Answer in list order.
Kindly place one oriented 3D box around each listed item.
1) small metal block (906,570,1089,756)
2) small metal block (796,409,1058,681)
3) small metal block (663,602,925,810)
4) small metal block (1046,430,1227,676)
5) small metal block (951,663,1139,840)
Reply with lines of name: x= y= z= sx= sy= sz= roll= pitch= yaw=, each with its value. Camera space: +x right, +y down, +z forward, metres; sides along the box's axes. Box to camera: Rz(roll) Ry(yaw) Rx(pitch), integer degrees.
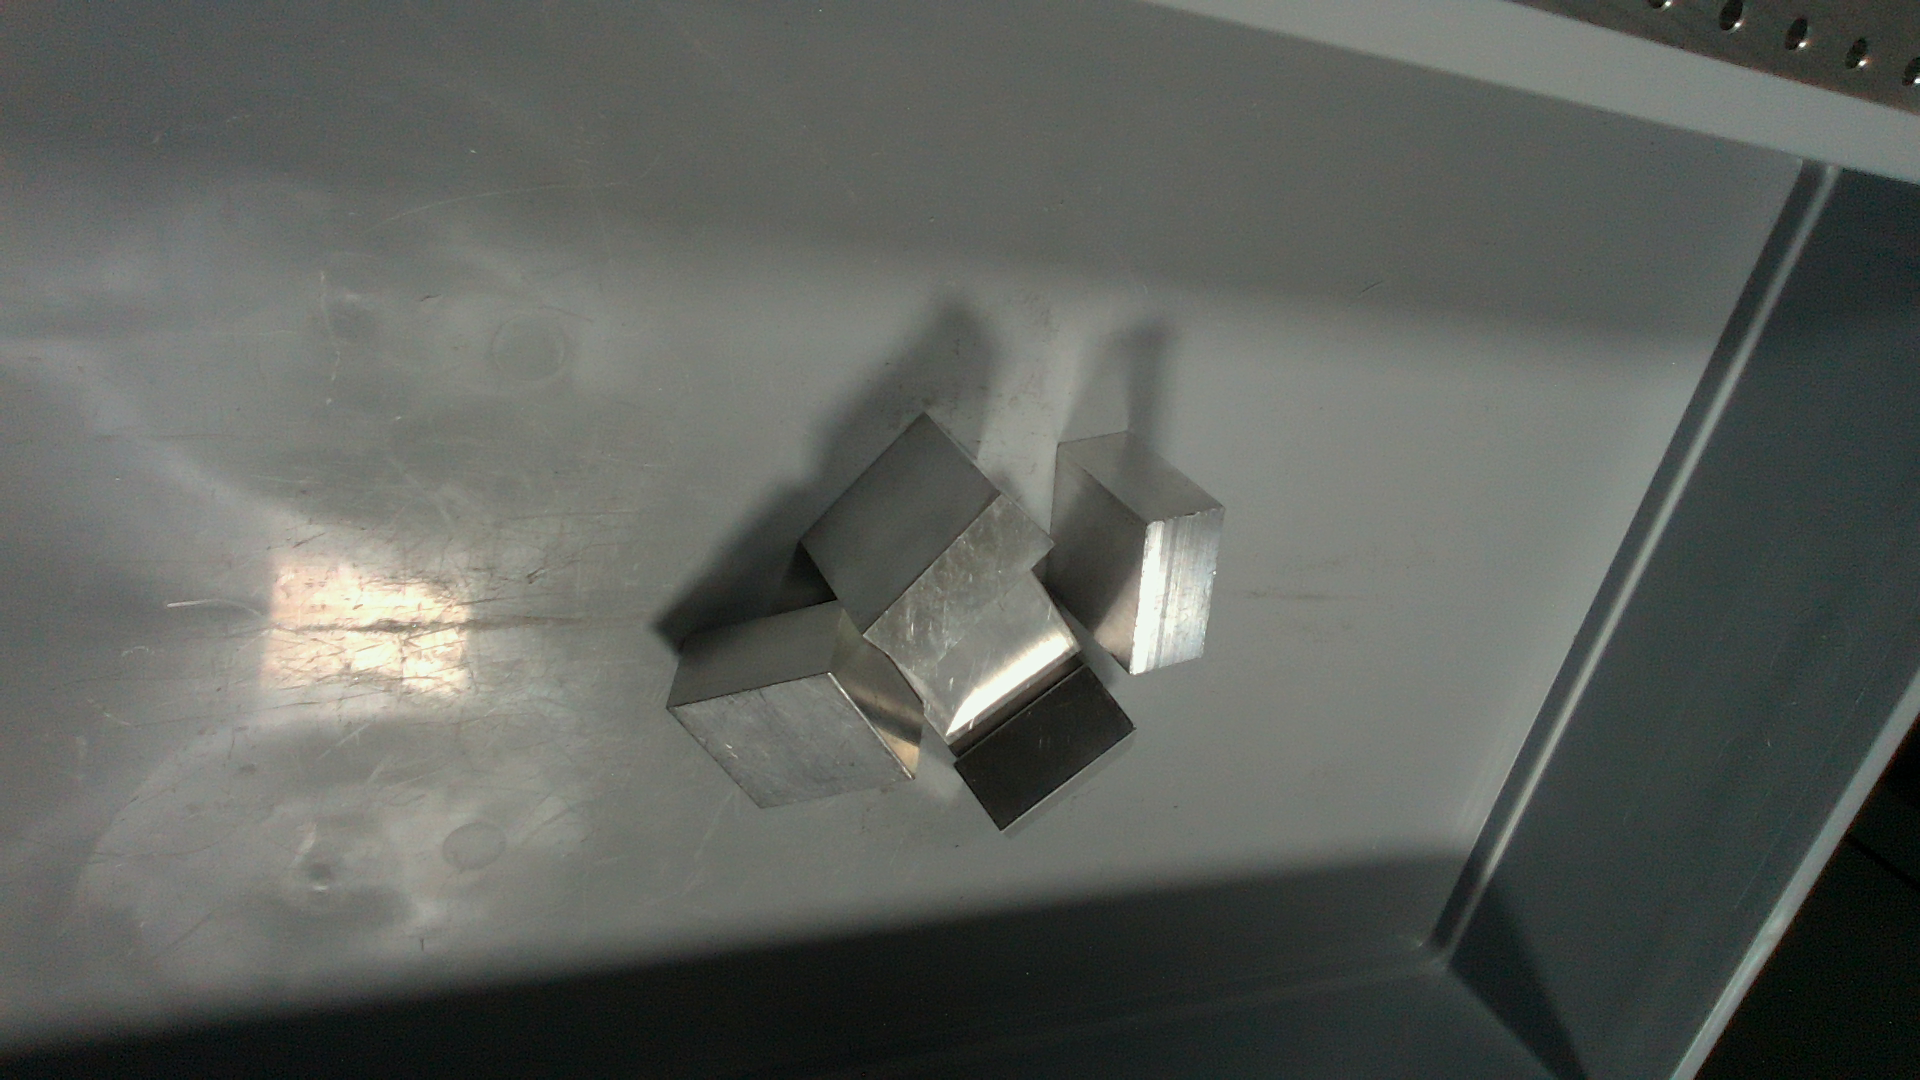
small metal block: x=0.003 y=0.029 z=0.406 sx=0.050 sy=0.025 sz=0.050 roll=-36 pitch=129 yaw=-4
small metal block: x=-0.010 y=0.000 z=0.365 sx=0.050 sy=0.050 sz=0.025 roll=-45 pitch=129 yaw=3
small metal block: x=-0.044 y=0.046 z=0.377 sx=0.050 sy=0.025 sz=0.050 roll=-14 pitch=132 yaw=21
small metal block: x=0.049 y=0.003 z=0.399 sx=0.025 sy=0.050 sz=0.050 roll=-12 pitch=123 yaw=-23
small metal block: x=0.027 y=0.067 z=0.426 sx=0.050 sy=0.025 sz=0.050 roll=-36 pitch=166 yaw=-5
